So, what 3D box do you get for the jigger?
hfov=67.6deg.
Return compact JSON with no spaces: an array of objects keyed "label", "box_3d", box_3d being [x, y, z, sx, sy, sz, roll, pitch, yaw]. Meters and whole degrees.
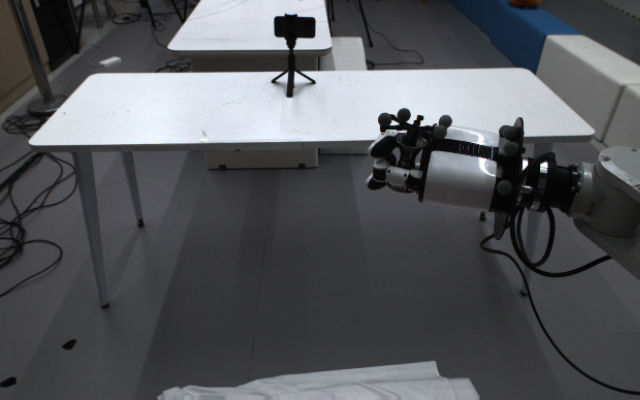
[{"label":"jigger","box_3d":[0.120,-0.051,0.653,0.043,0.071,0.043,4,31,-2]}]
